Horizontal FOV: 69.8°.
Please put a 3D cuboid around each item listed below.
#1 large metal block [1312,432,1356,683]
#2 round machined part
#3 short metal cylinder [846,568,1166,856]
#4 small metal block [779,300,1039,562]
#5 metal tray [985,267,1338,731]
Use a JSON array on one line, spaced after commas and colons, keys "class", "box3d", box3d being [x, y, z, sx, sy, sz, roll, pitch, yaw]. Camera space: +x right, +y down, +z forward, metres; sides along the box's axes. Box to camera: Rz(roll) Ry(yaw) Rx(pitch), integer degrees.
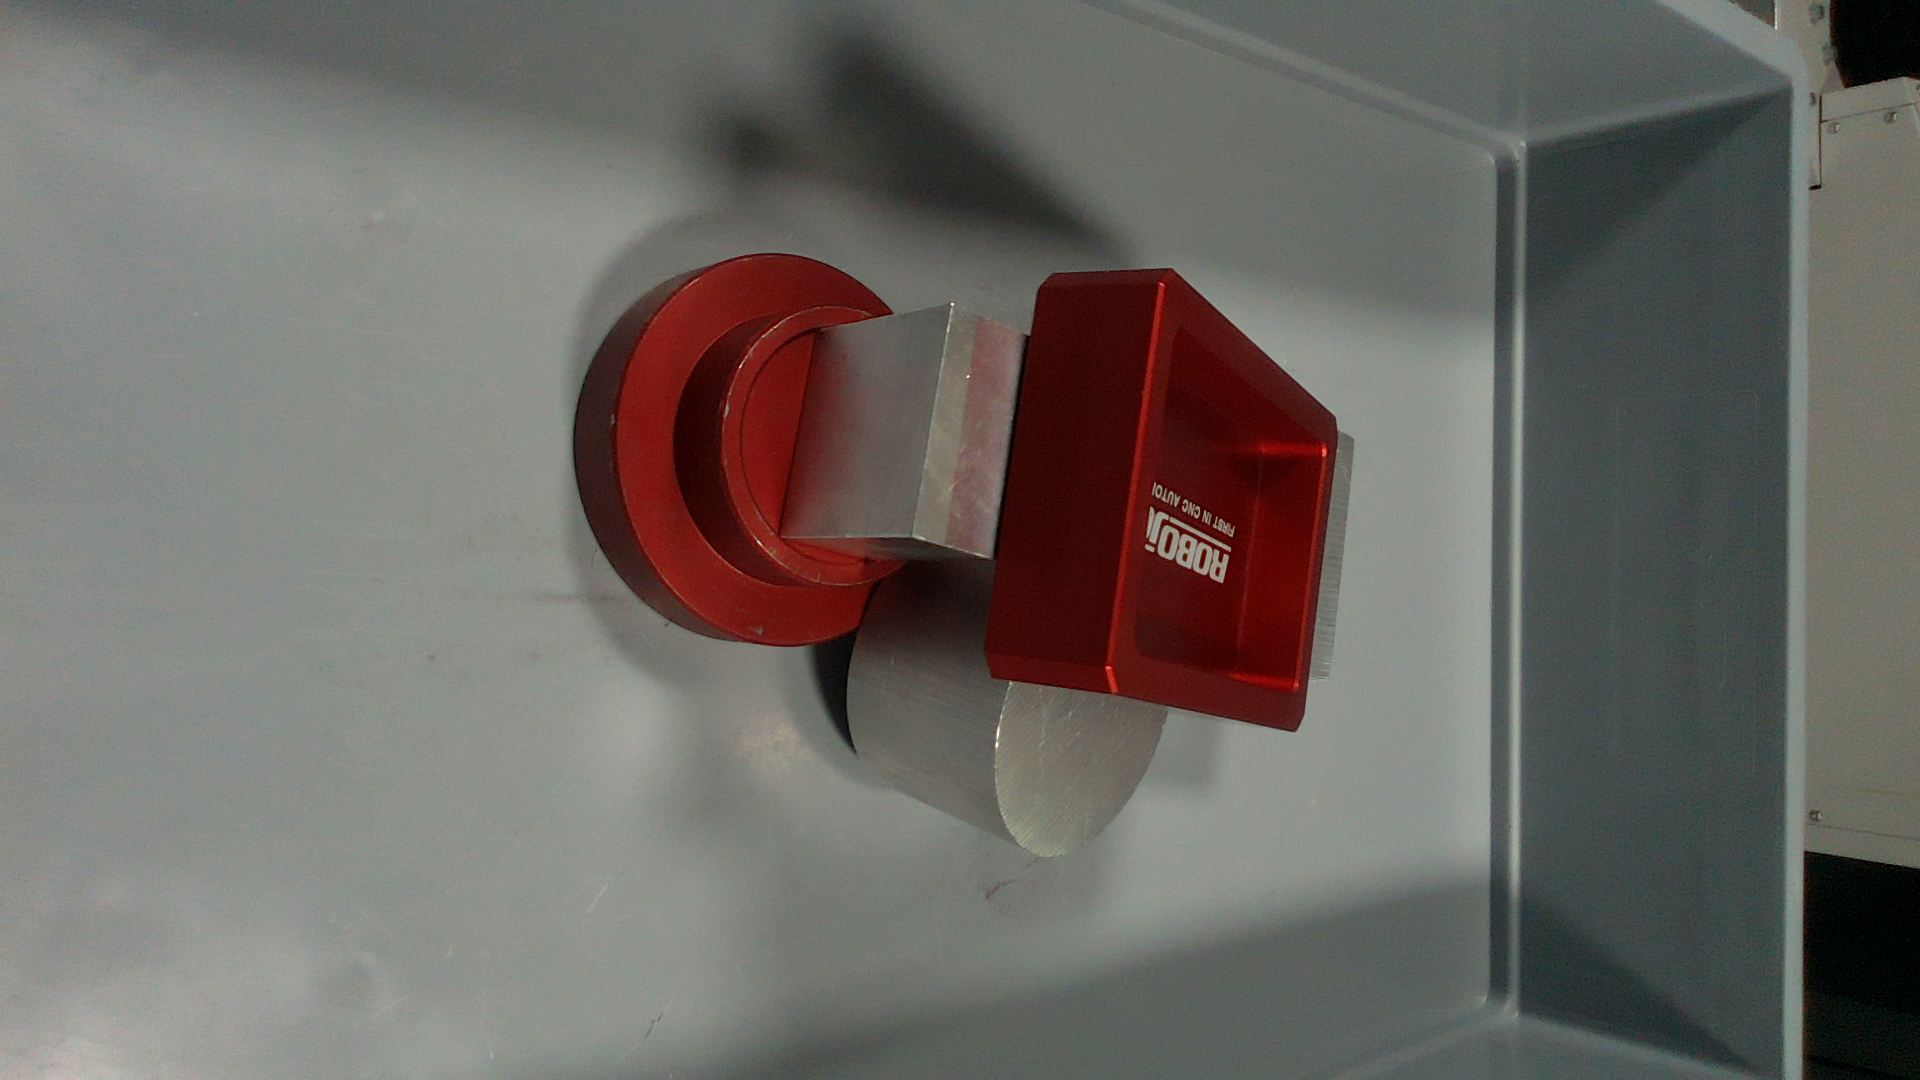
[{"class": "large metal block", "box3d": [0.076, -0.001, 0.433, 0.080, 0.050, 0.080, 13, 82, -39]}, {"class": "round machined part", "box3d": [-0.041, -0.022, 0.342, 0.098, 0.042, 0.098, 0, 90, -40]}, {"class": "short metal cylinder", "box3d": [0.016, 0.037, 0.369, 0.080, 0.050, 0.080, -22, 120, -46]}, {"class": "small metal block", "box3d": [-0.012, -0.022, 0.307, 0.025, 0.050, 0.050, 16, 80, -39]}, {"class": "metal tray", "box3d": [0.056, -0.003, 0.340, 0.130, 0.030, 0.090, 19, 77, -58]}]
